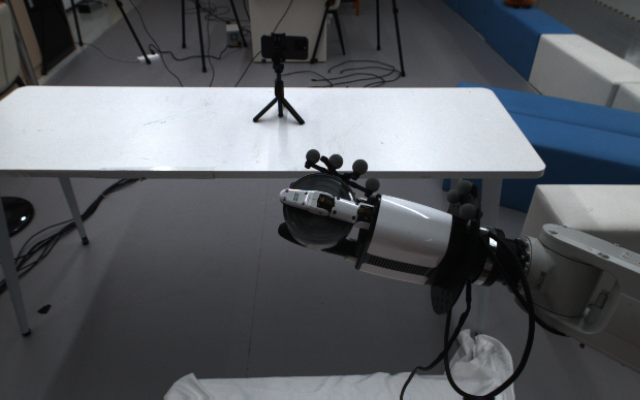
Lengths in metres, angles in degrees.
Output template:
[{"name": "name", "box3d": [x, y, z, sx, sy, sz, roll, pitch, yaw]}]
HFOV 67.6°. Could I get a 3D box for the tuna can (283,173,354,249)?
[{"name": "tuna can", "box3d": [0.001, 0.011, 0.567, 0.085, 0.034, 0.085, 0, 71, 0]}]
